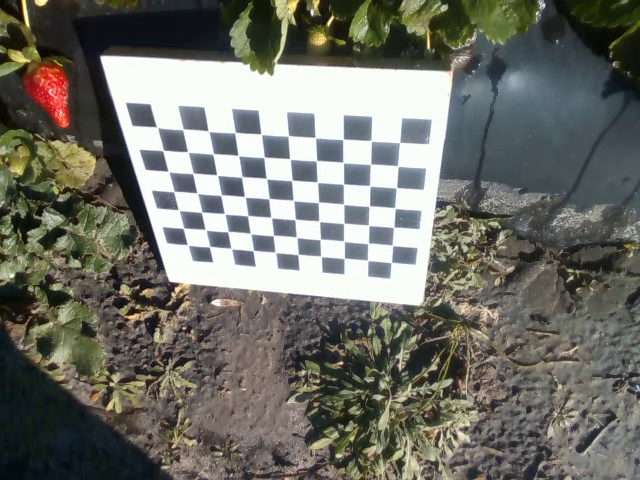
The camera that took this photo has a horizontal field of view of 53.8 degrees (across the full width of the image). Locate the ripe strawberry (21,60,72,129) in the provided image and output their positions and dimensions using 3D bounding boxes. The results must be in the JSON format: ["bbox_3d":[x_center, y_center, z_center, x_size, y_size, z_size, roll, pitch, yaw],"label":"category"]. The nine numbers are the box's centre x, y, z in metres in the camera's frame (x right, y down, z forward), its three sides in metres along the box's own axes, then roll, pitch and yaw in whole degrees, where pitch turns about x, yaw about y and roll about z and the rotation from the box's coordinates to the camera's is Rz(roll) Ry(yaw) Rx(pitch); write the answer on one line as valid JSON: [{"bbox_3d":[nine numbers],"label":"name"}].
[{"bbox_3d":[-0.239,-0.126,0.553,0.048,0.069,0.040,-8,34,22],"label":"ripe strawberry"}]
